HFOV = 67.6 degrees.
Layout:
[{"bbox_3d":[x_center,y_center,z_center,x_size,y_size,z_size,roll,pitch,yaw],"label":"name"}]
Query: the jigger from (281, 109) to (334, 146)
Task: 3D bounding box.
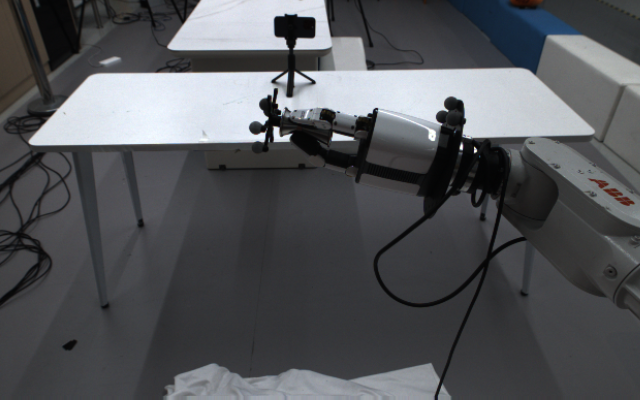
[{"bbox_3d":[-0.010,-0.103,0.649,0.071,0.043,0.043,11,35,3],"label":"jigger"}]
